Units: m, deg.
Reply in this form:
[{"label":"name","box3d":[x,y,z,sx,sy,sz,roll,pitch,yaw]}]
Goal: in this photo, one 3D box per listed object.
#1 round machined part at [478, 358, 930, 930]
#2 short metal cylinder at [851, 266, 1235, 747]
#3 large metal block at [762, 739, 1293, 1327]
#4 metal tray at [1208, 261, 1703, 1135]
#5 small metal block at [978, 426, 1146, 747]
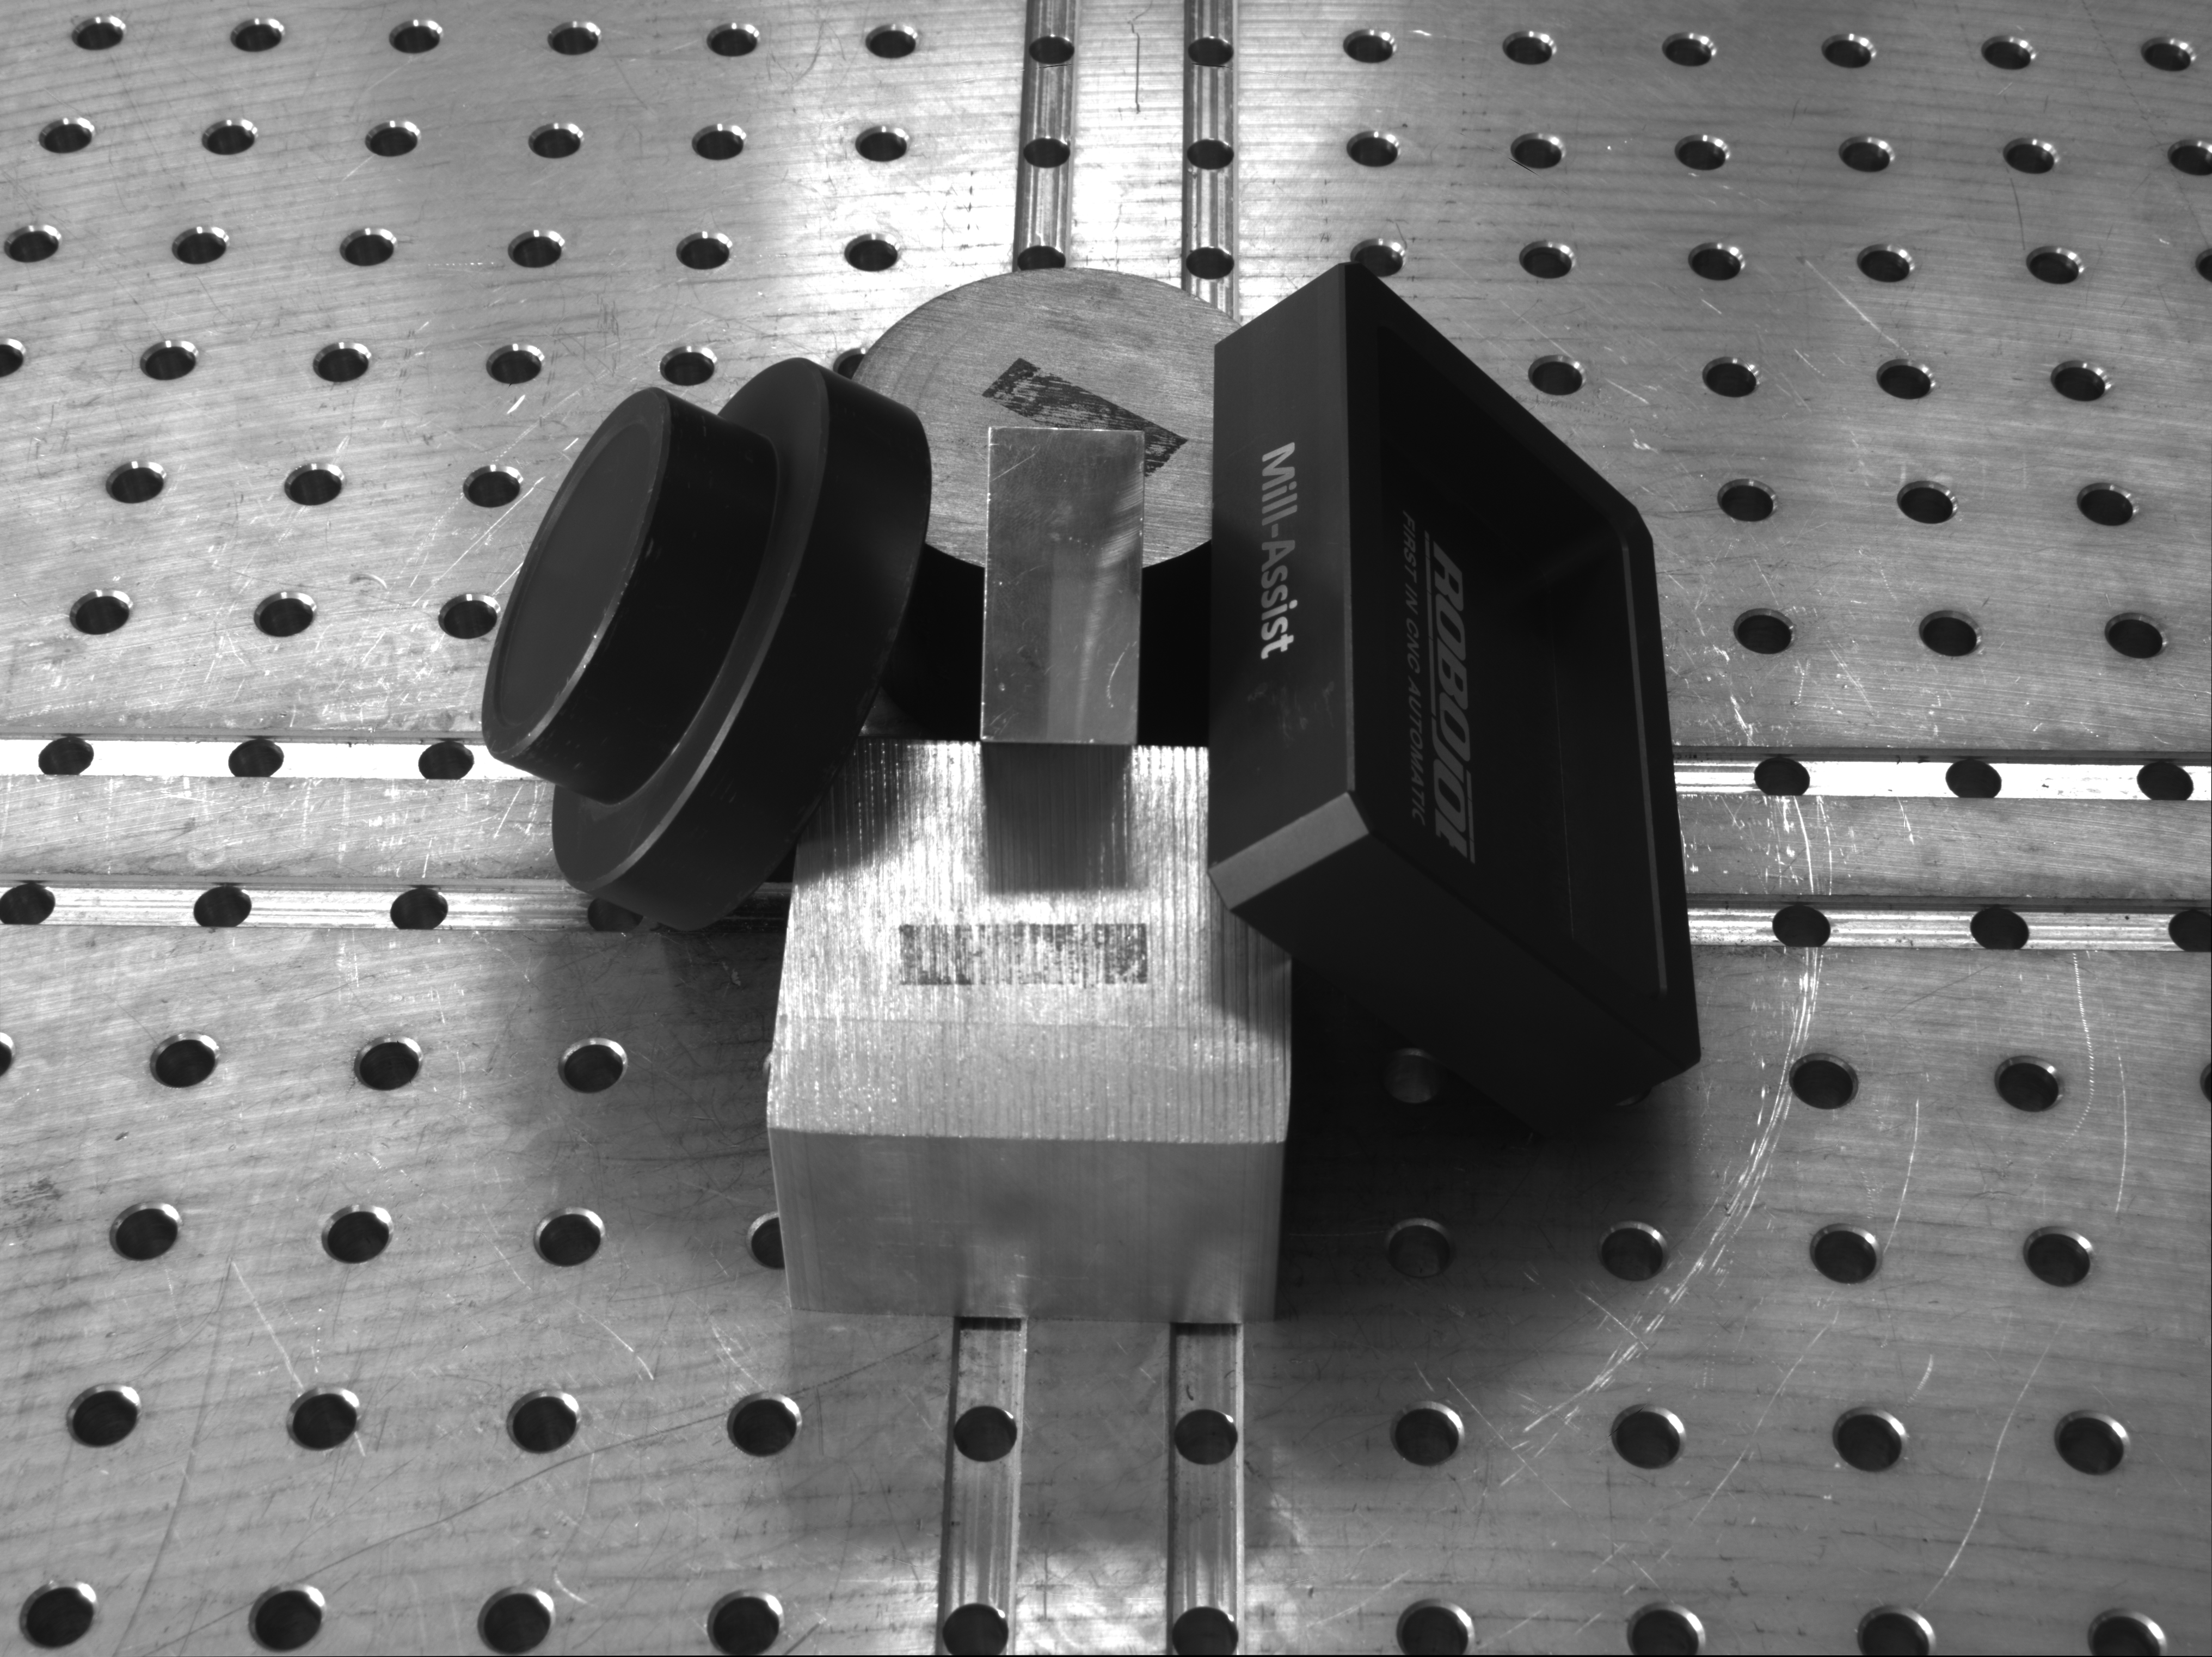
[{"label":"round machined part","box3d":[-0.073,-0.036,0.622,0.042,0.098,0.098,24,45,-24]},{"label":"short metal cylinder","box3d":[-0.007,-0.058,0.676,0.080,0.050,0.080,0,50,0]},{"label":"large metal block","box3d":[-0.010,0.033,0.600,0.080,0.050,0.080,2,50,2]},{"label":"metal tray","box3d":[0.058,-0.024,0.624,0.030,0.090,0.130,-30,40,32]},{"label":"small metal block","box3d":[-0.008,-0.039,0.606,0.025,0.050,0.050,2,92,-2]}]
